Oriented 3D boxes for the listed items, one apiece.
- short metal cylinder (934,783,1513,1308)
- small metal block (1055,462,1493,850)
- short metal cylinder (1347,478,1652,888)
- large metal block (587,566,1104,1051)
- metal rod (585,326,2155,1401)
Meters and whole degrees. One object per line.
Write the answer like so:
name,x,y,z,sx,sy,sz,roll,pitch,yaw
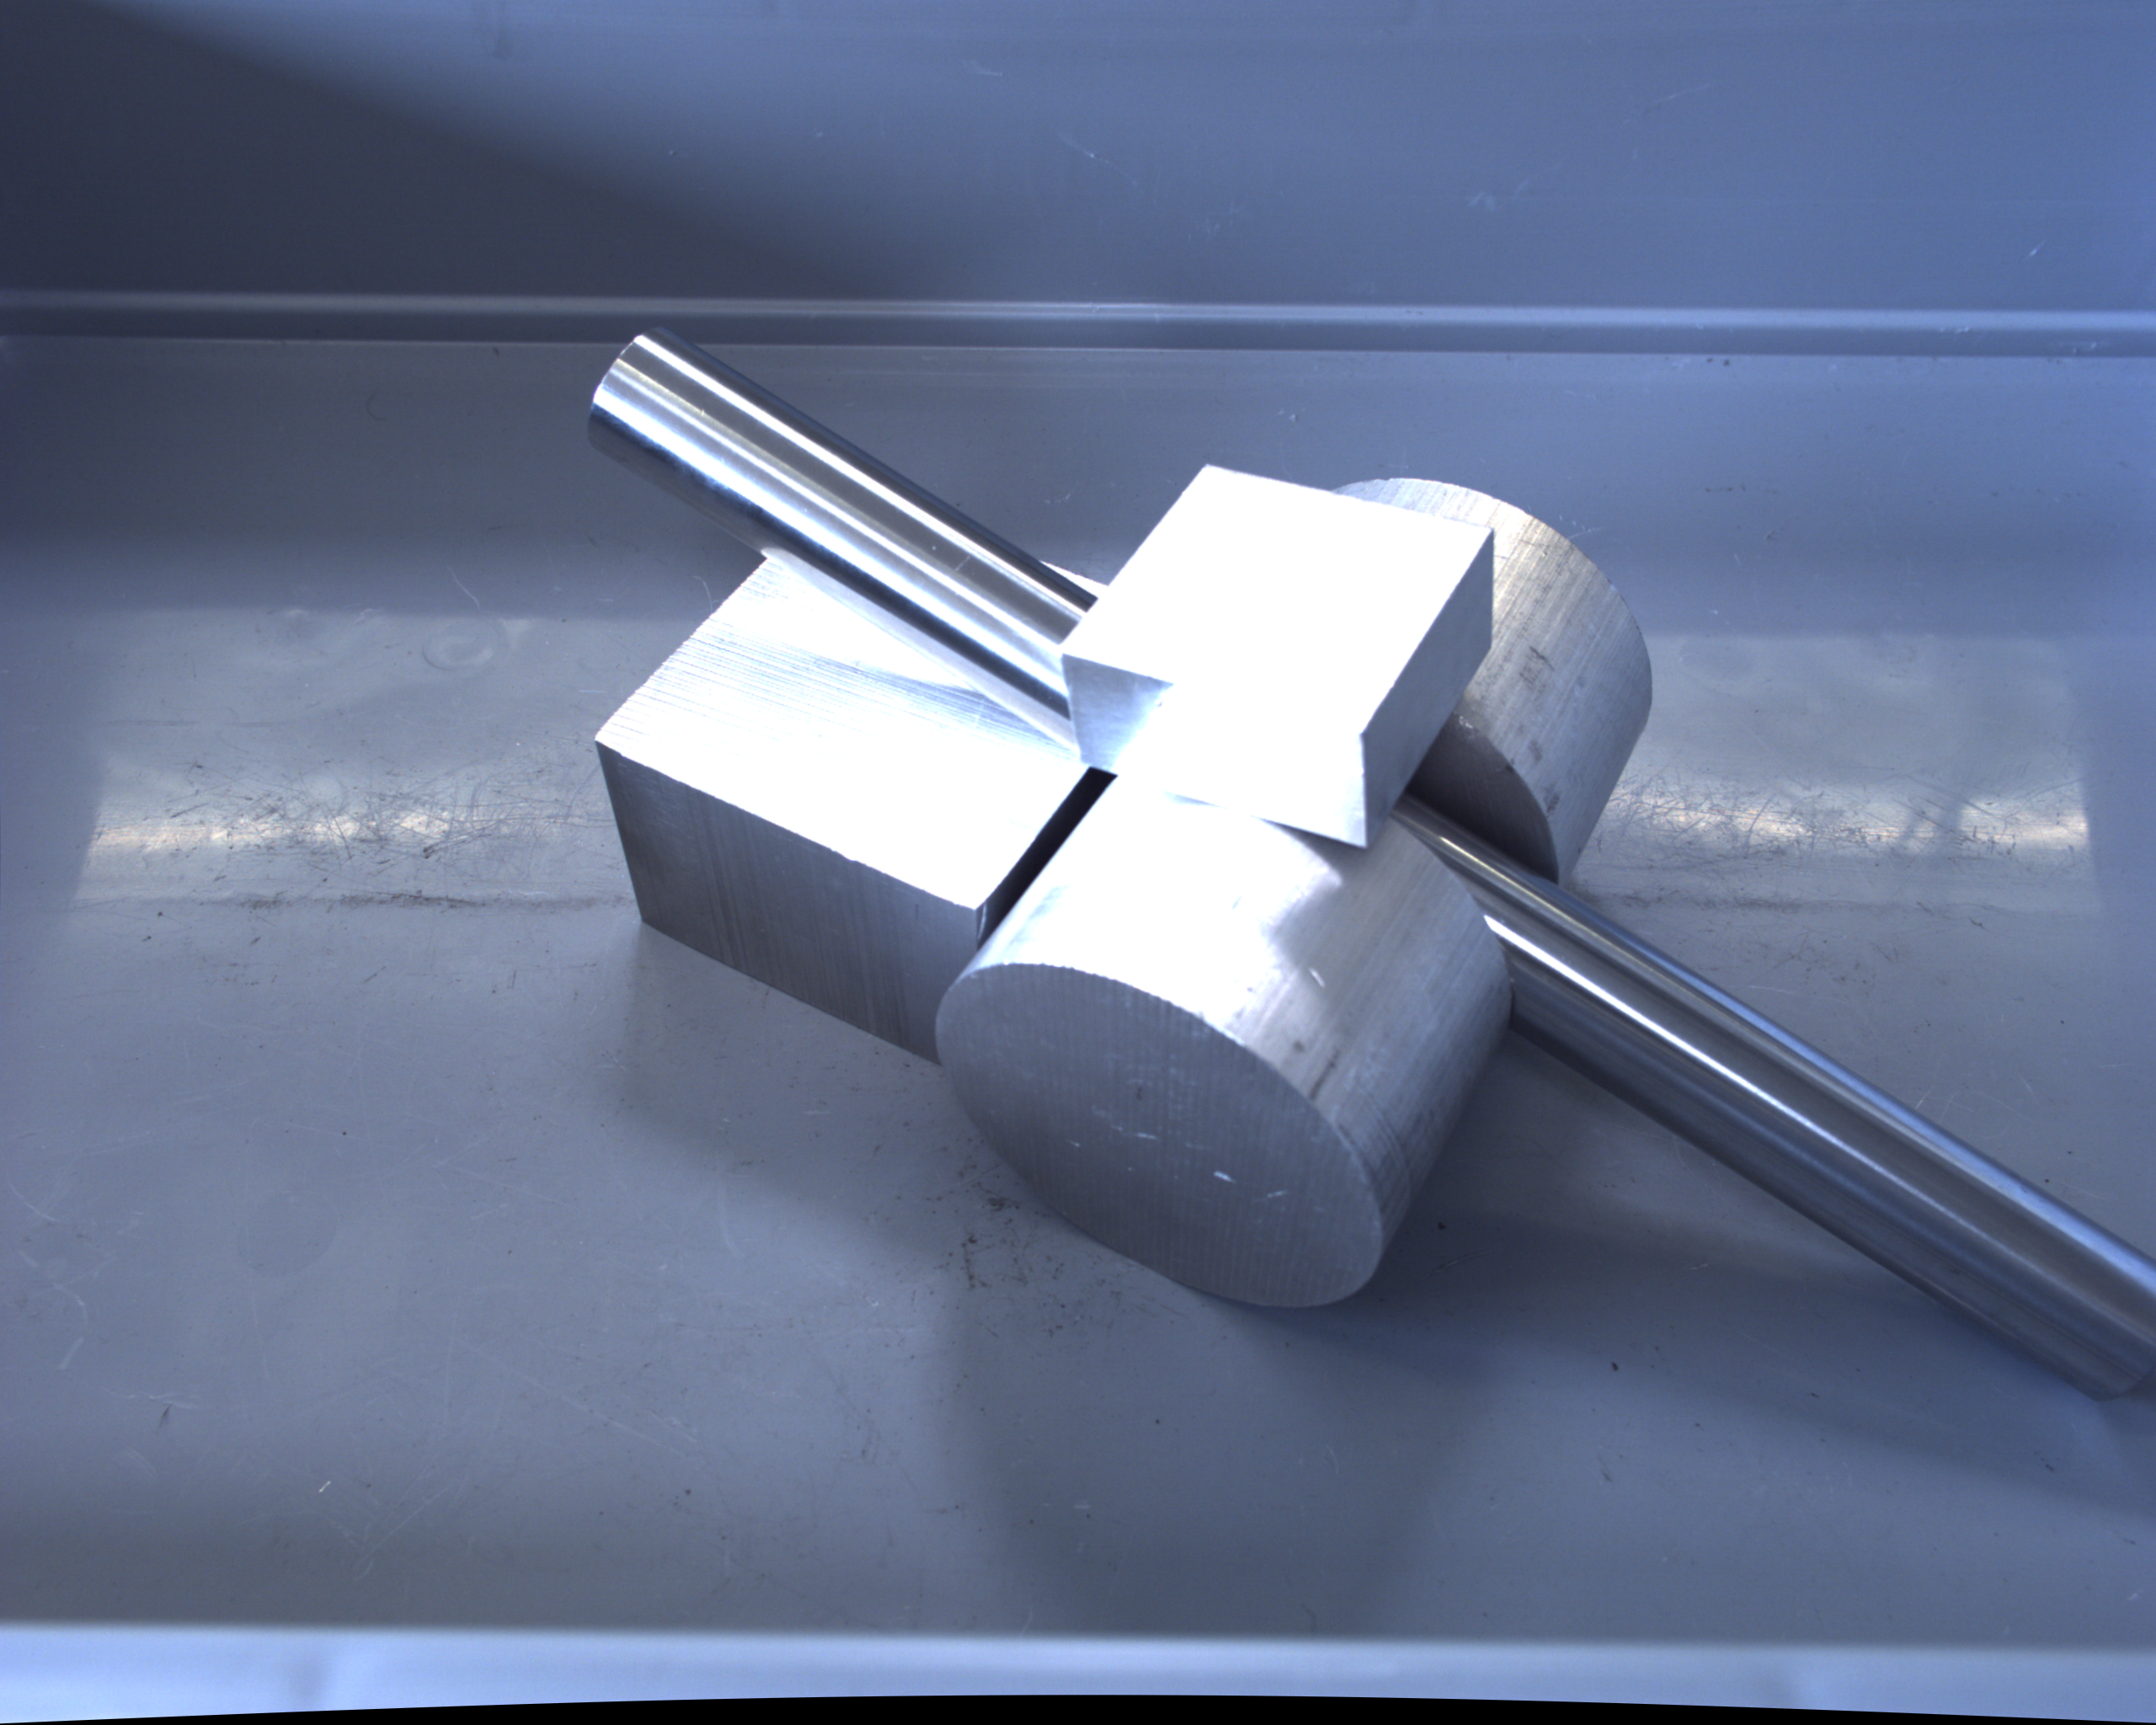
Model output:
short metal cylinder,0.024,0.028,0.344,0.080,0.080,0.050,24,54,18
small metal block,0.032,-0.034,0.329,0.050,0.025,0.050,18,52,25
short metal cylinder,0.059,-0.024,0.389,0.080,0.080,0.050,22,54,17
large metal block,-0.032,-0.018,0.398,0.080,0.050,0.080,23,54,18
metal rod,0.046,-0.004,0.355,0.301,0.025,0.025,33,56,6
